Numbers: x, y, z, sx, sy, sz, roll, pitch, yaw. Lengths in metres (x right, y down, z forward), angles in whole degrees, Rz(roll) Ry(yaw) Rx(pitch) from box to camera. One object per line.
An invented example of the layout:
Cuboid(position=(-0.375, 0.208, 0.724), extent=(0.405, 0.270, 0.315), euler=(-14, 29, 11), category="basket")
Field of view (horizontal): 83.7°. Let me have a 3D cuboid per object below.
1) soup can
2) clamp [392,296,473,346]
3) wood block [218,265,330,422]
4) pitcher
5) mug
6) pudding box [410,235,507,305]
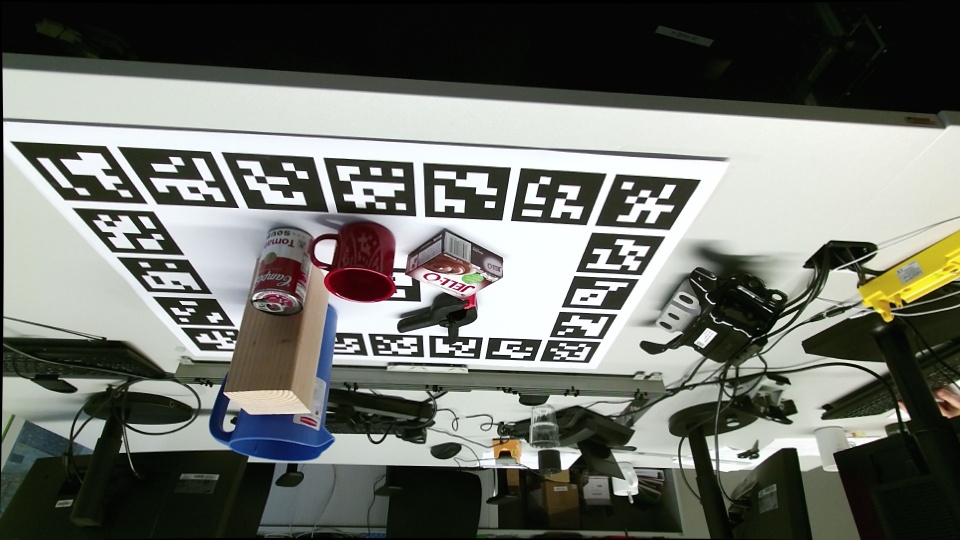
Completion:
Cuboid(position=(-0.263, 0.008, 0.721), extent=(0.068, 0.101, 0.068), euler=(-1, 144, -1), category="soup can")
Cuboid(position=(-0.064, 0.086, 0.915), extent=(0.122, 0.036, 0.165), euler=(26, 138, -23), category="clamp")
Cuboid(position=(-0.287, 0.100, 0.765), extent=(0.090, 0.205, 0.091), euler=(3, 146, 1), category="wood block")
Cuboid(position=(-0.320, 0.180, 0.856), extent=(0.189, 0.241, 0.133), euler=(-1, 148, -5), category="pitcher")
Cuboid(position=(-0.169, -0.010, 0.717), extent=(0.117, 0.081, 0.093), euler=(24, 141, -34), category="mug")
Cuboid(position=(-0.031, 0.002, 0.780), extent=(0.114, 0.038, 0.090), euler=(26, 135, -35), category="pudding box")
